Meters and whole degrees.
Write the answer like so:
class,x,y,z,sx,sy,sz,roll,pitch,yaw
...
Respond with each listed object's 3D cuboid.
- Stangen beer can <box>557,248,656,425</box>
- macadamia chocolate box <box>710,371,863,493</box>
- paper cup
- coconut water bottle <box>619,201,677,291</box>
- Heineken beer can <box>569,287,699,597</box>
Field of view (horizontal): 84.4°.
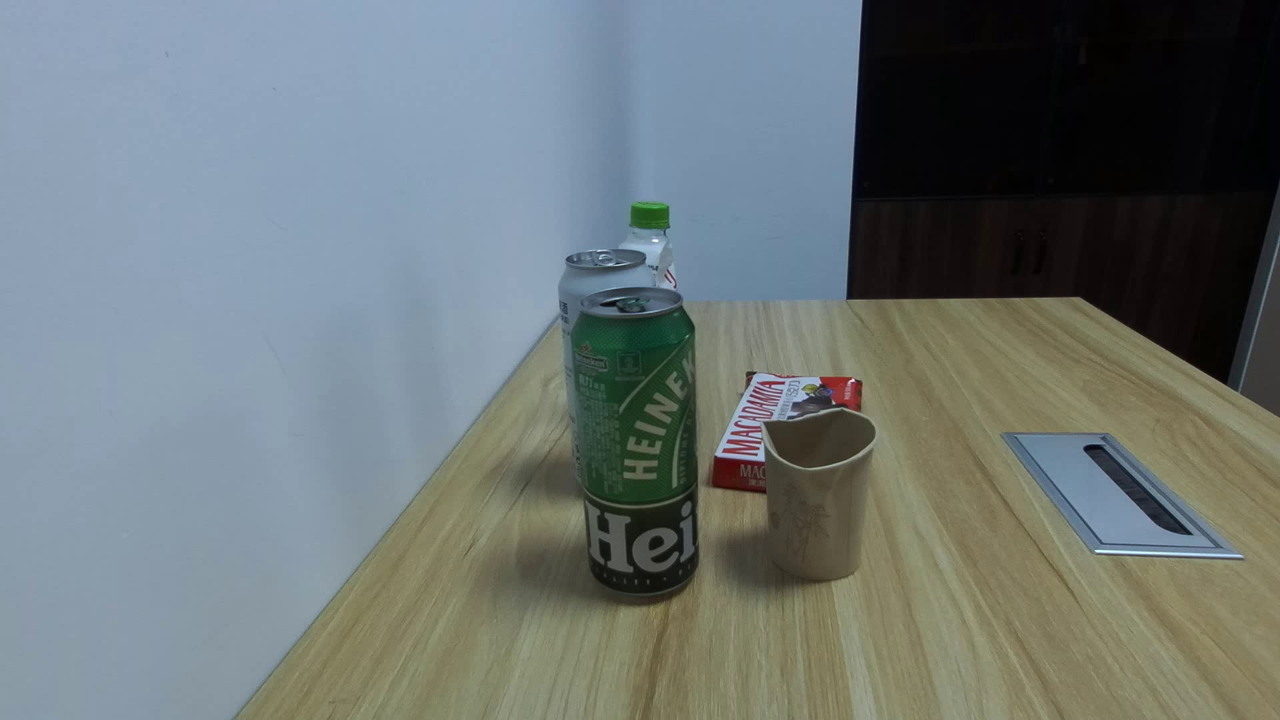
class,x,y,z,sx,sy,sz,roll,pitch,yaw
Stangen beer can,-0.016,0.005,0.509,0.067,0.171,0.067,-4,28,2
macadamia chocolate box,0.125,0.053,0.577,0.105,0.028,0.183,4,21,18
paper cup,0.107,0.080,0.414,0.072,0.084,0.066,-8,21,-12
coconut water bottle,0.011,-0.039,0.588,0.069,0.187,0.069,-4,19,2
Heineken beer can,-0.001,0.048,0.395,0.067,0.169,0.067,-2,21,1
